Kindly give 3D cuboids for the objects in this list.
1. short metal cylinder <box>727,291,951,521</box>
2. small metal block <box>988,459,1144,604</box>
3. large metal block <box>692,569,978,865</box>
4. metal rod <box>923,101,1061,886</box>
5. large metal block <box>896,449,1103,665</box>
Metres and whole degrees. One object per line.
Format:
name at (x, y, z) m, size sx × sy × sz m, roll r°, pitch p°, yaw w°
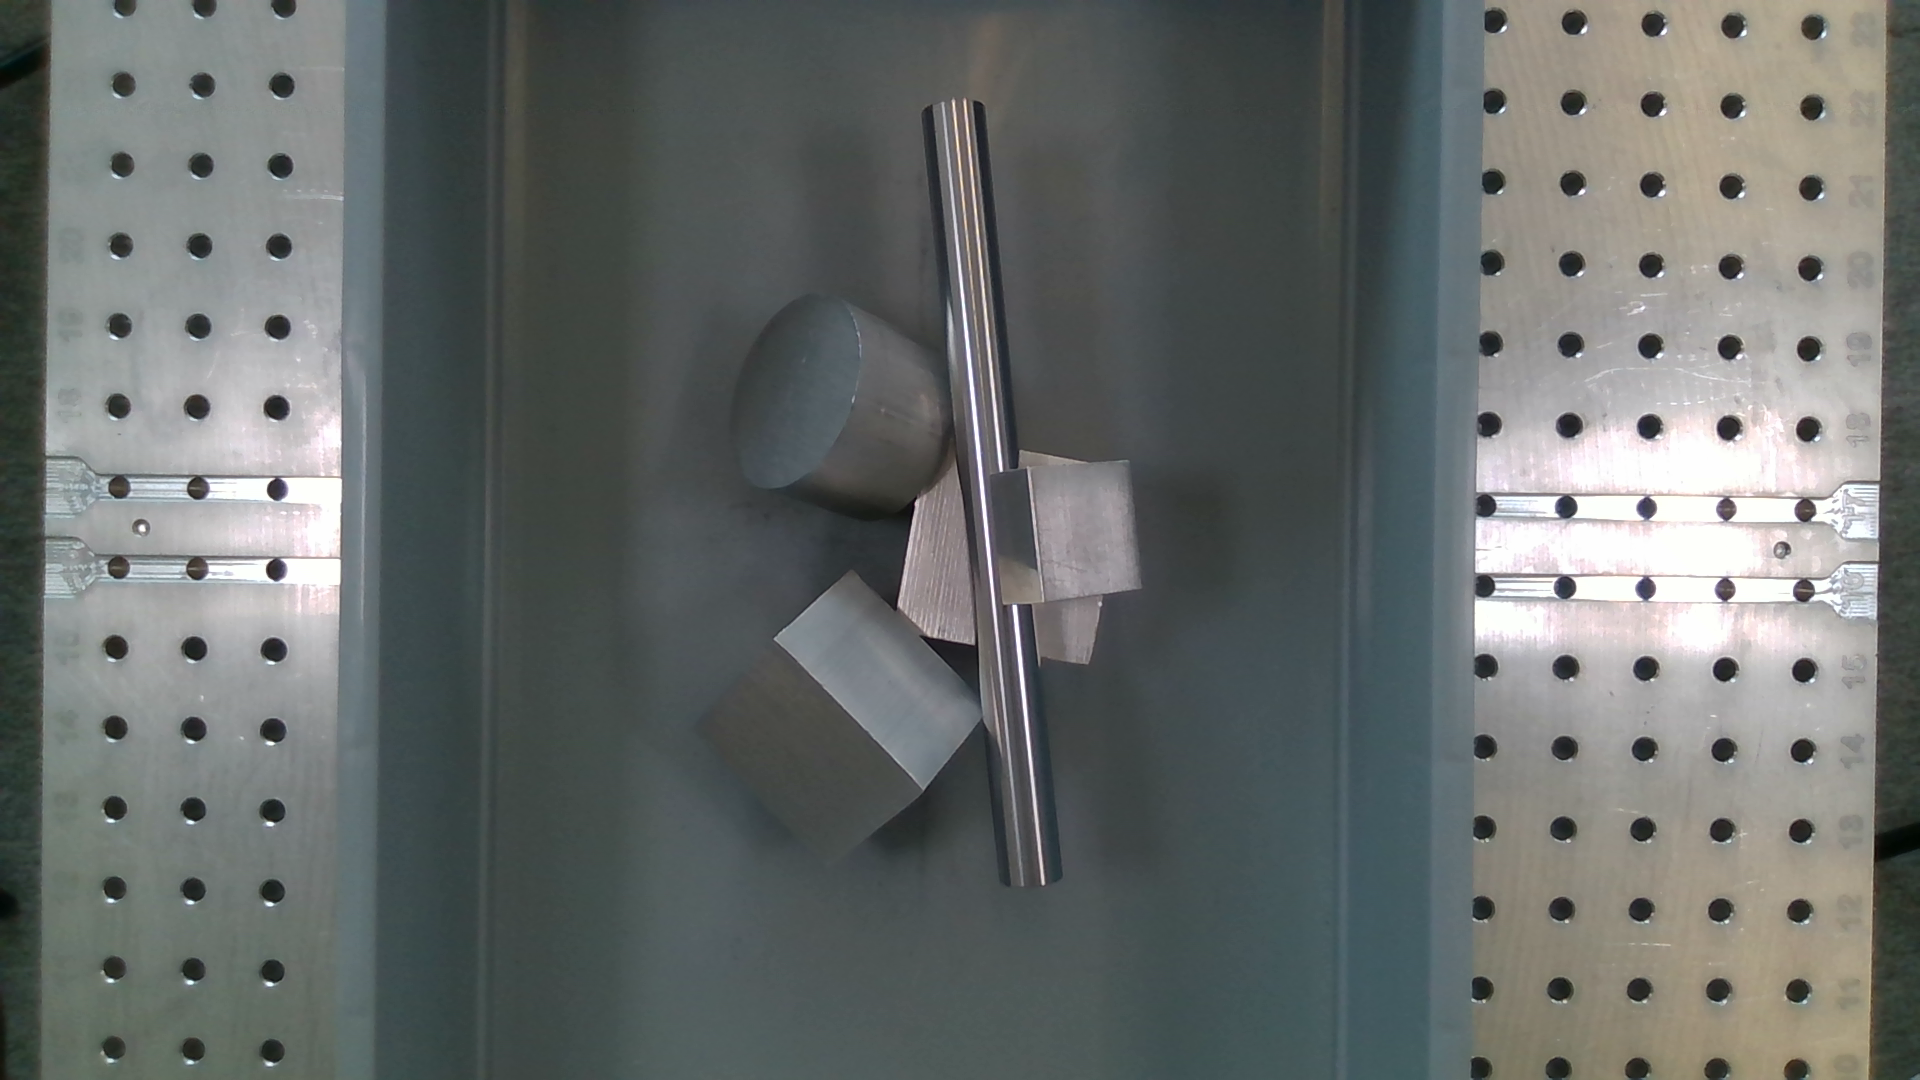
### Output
short metal cylinder at (-0.049, -0.053, 0.552) m, size 0.050 × 0.080 × 0.080 m, roll 19°, pitch 90°, yaw -43°
small metal block at (0.041, -0.003, 0.524) m, size 0.050 × 0.025 × 0.050 m, roll -6°, pitch 90°, yaw -35°
large metal block at (-0.049, 0.072, 0.553) m, size 0.080 × 0.050 × 0.080 m, roll 45°, pitch 134°, yaw 0°
metal rod at (0.012, -0.018, 0.536) m, size 0.025 × 0.025 × 0.300 m, roll -6°, pitch 90°, yaw 0°
large metal block at (0.020, 0.003, 0.574) m, size 0.080 × 0.050 × 0.080 m, roll 11°, pitch 90°, yaw 0°
